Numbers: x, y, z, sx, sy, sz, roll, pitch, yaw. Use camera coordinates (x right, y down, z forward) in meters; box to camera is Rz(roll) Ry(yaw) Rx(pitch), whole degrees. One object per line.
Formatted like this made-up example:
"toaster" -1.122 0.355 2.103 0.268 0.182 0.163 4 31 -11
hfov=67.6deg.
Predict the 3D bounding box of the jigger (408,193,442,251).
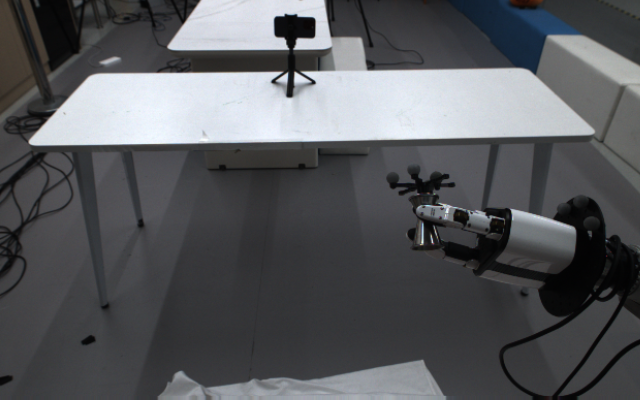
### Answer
"jigger" 0.139 0.027 0.631 0.043 0.043 0.071 0 75 -3
